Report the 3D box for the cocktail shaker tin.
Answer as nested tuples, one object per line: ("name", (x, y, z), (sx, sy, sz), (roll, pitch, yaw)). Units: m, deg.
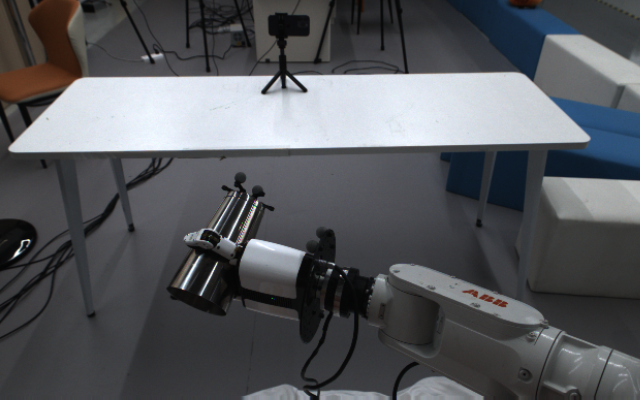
("cocktail shaker tin", (-0.146, 0.074, 0.715), (0.093, 0.093, 0.170), (14, 62, 17))
